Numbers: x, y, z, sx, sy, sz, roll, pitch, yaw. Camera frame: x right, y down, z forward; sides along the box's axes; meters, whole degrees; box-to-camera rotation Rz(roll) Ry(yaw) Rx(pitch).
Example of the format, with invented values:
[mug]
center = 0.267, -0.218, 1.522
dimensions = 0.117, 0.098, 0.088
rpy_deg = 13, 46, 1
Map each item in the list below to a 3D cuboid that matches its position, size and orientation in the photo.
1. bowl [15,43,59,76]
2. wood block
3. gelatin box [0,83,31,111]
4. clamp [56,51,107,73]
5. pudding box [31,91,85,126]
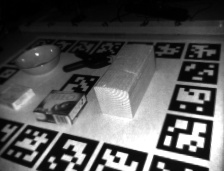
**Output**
[bowl]
center = -0.261, -0.086, 0.778
dimensions = 0.161, 0.055, 0.161
rpy_deg = -8, 43, 8
[wood block]
center = 0.041, -0.021, 0.572
dimensions = 0.089, 0.092, 0.207
rpy_deg = 10, 45, 25
[gelatin box]
center = -0.304, 0.032, 0.659
dimensions = 0.088, 0.030, 0.073
rpy_deg = 13, 48, 29
[clamp]
center = -0.098, -0.088, 0.749
dimensions = 0.164, 0.037, 0.122
rpy_deg = 1, 41, 14
[pudding box]
center = -0.142, 0.057, 0.575
dimensions = 0.112, 0.039, 0.090
rpy_deg = 5, 47, 25
